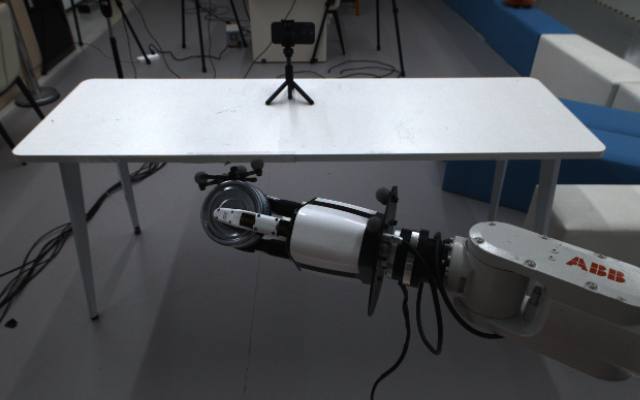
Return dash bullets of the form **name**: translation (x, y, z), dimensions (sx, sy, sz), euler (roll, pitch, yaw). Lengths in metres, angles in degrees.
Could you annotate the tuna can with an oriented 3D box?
- **tuna can**: translation (-0.104, 0.023, 0.618), dimensions (0.085, 0.085, 0.034), euler (13, -6, 15)
